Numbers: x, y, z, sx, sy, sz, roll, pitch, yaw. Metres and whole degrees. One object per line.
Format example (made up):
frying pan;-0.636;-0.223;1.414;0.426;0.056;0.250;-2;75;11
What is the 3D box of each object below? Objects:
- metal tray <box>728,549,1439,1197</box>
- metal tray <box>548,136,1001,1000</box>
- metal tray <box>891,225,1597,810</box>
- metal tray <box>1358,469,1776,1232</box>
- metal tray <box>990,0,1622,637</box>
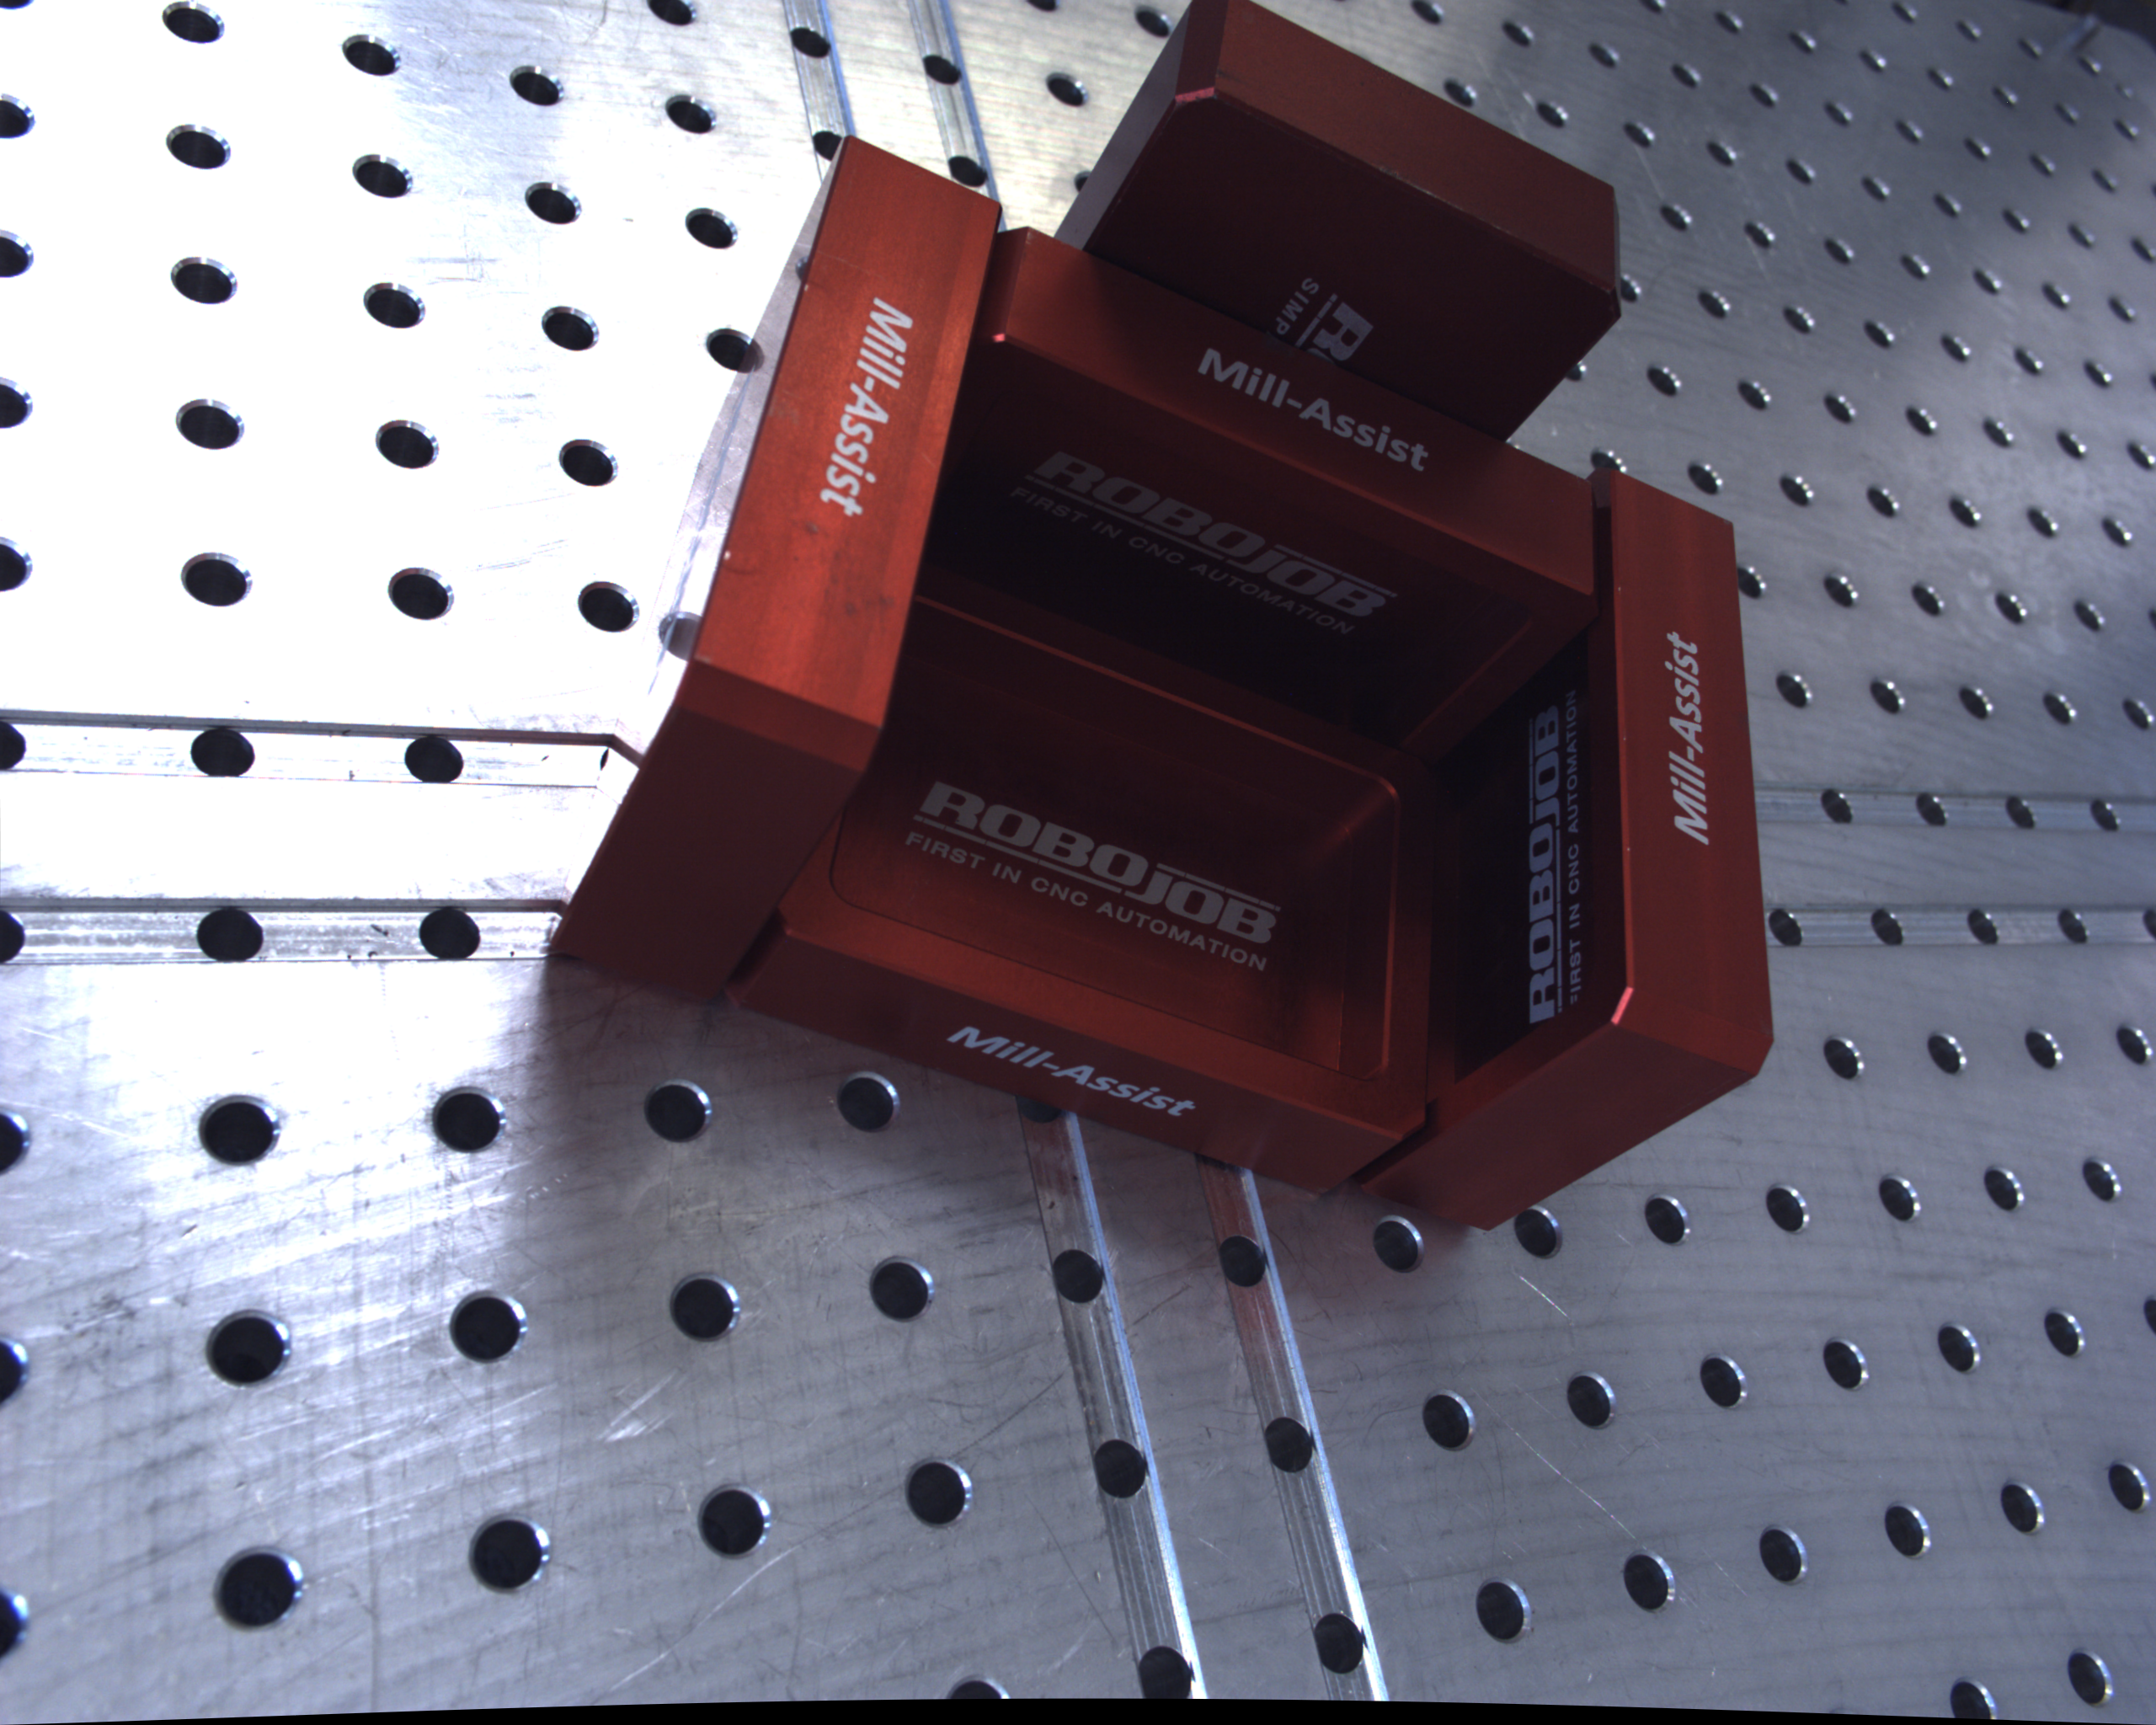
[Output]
metal tray;0.006;0.002;0.405;0.131;0.030;0.090;20;54;-17
metal tray;-0.053;-0.052;0.369;0.030;0.090;0.130;20;54;-17
metal tray;0.025;-0.062;0.417;0.131;0.090;0.030;20;55;-17
metal tray;0.094;-0.003;0.417;0.030;0.090;0.130;20;54;-17
metal tray;0.034;-0.097;0.417;0.090;0.129;0.030;21;54;-16
